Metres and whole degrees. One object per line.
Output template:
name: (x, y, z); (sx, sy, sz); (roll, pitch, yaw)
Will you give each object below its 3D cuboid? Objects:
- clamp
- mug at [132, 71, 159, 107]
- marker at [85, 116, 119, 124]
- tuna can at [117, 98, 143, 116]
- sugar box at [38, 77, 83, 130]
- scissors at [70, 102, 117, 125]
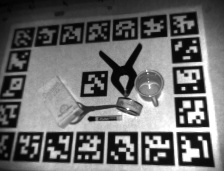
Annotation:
clamp: (0.039, -0.052, 0.790); (0.165, 0.037, 0.202); (-12, 71, 7)
mug: (0.119, 0.021, 0.718); (0.093, 0.082, 0.116); (-28, 65, 1)
marker: (-0.035, 0.120, 0.746); (0.120, 0.020, 0.019); (-6, 72, 10)
tuna can: (0.059, 0.073, 0.708); (0.085, 0.086, 0.034); (14, 75, 16)
sugar box: (-0.186, 0.061, 0.776); (0.093, 0.046, 0.174); (-37, 63, -2)
scissors: (-0.079, 0.083, 0.765); (0.202, 0.016, 0.087); (-13, 66, 5)
